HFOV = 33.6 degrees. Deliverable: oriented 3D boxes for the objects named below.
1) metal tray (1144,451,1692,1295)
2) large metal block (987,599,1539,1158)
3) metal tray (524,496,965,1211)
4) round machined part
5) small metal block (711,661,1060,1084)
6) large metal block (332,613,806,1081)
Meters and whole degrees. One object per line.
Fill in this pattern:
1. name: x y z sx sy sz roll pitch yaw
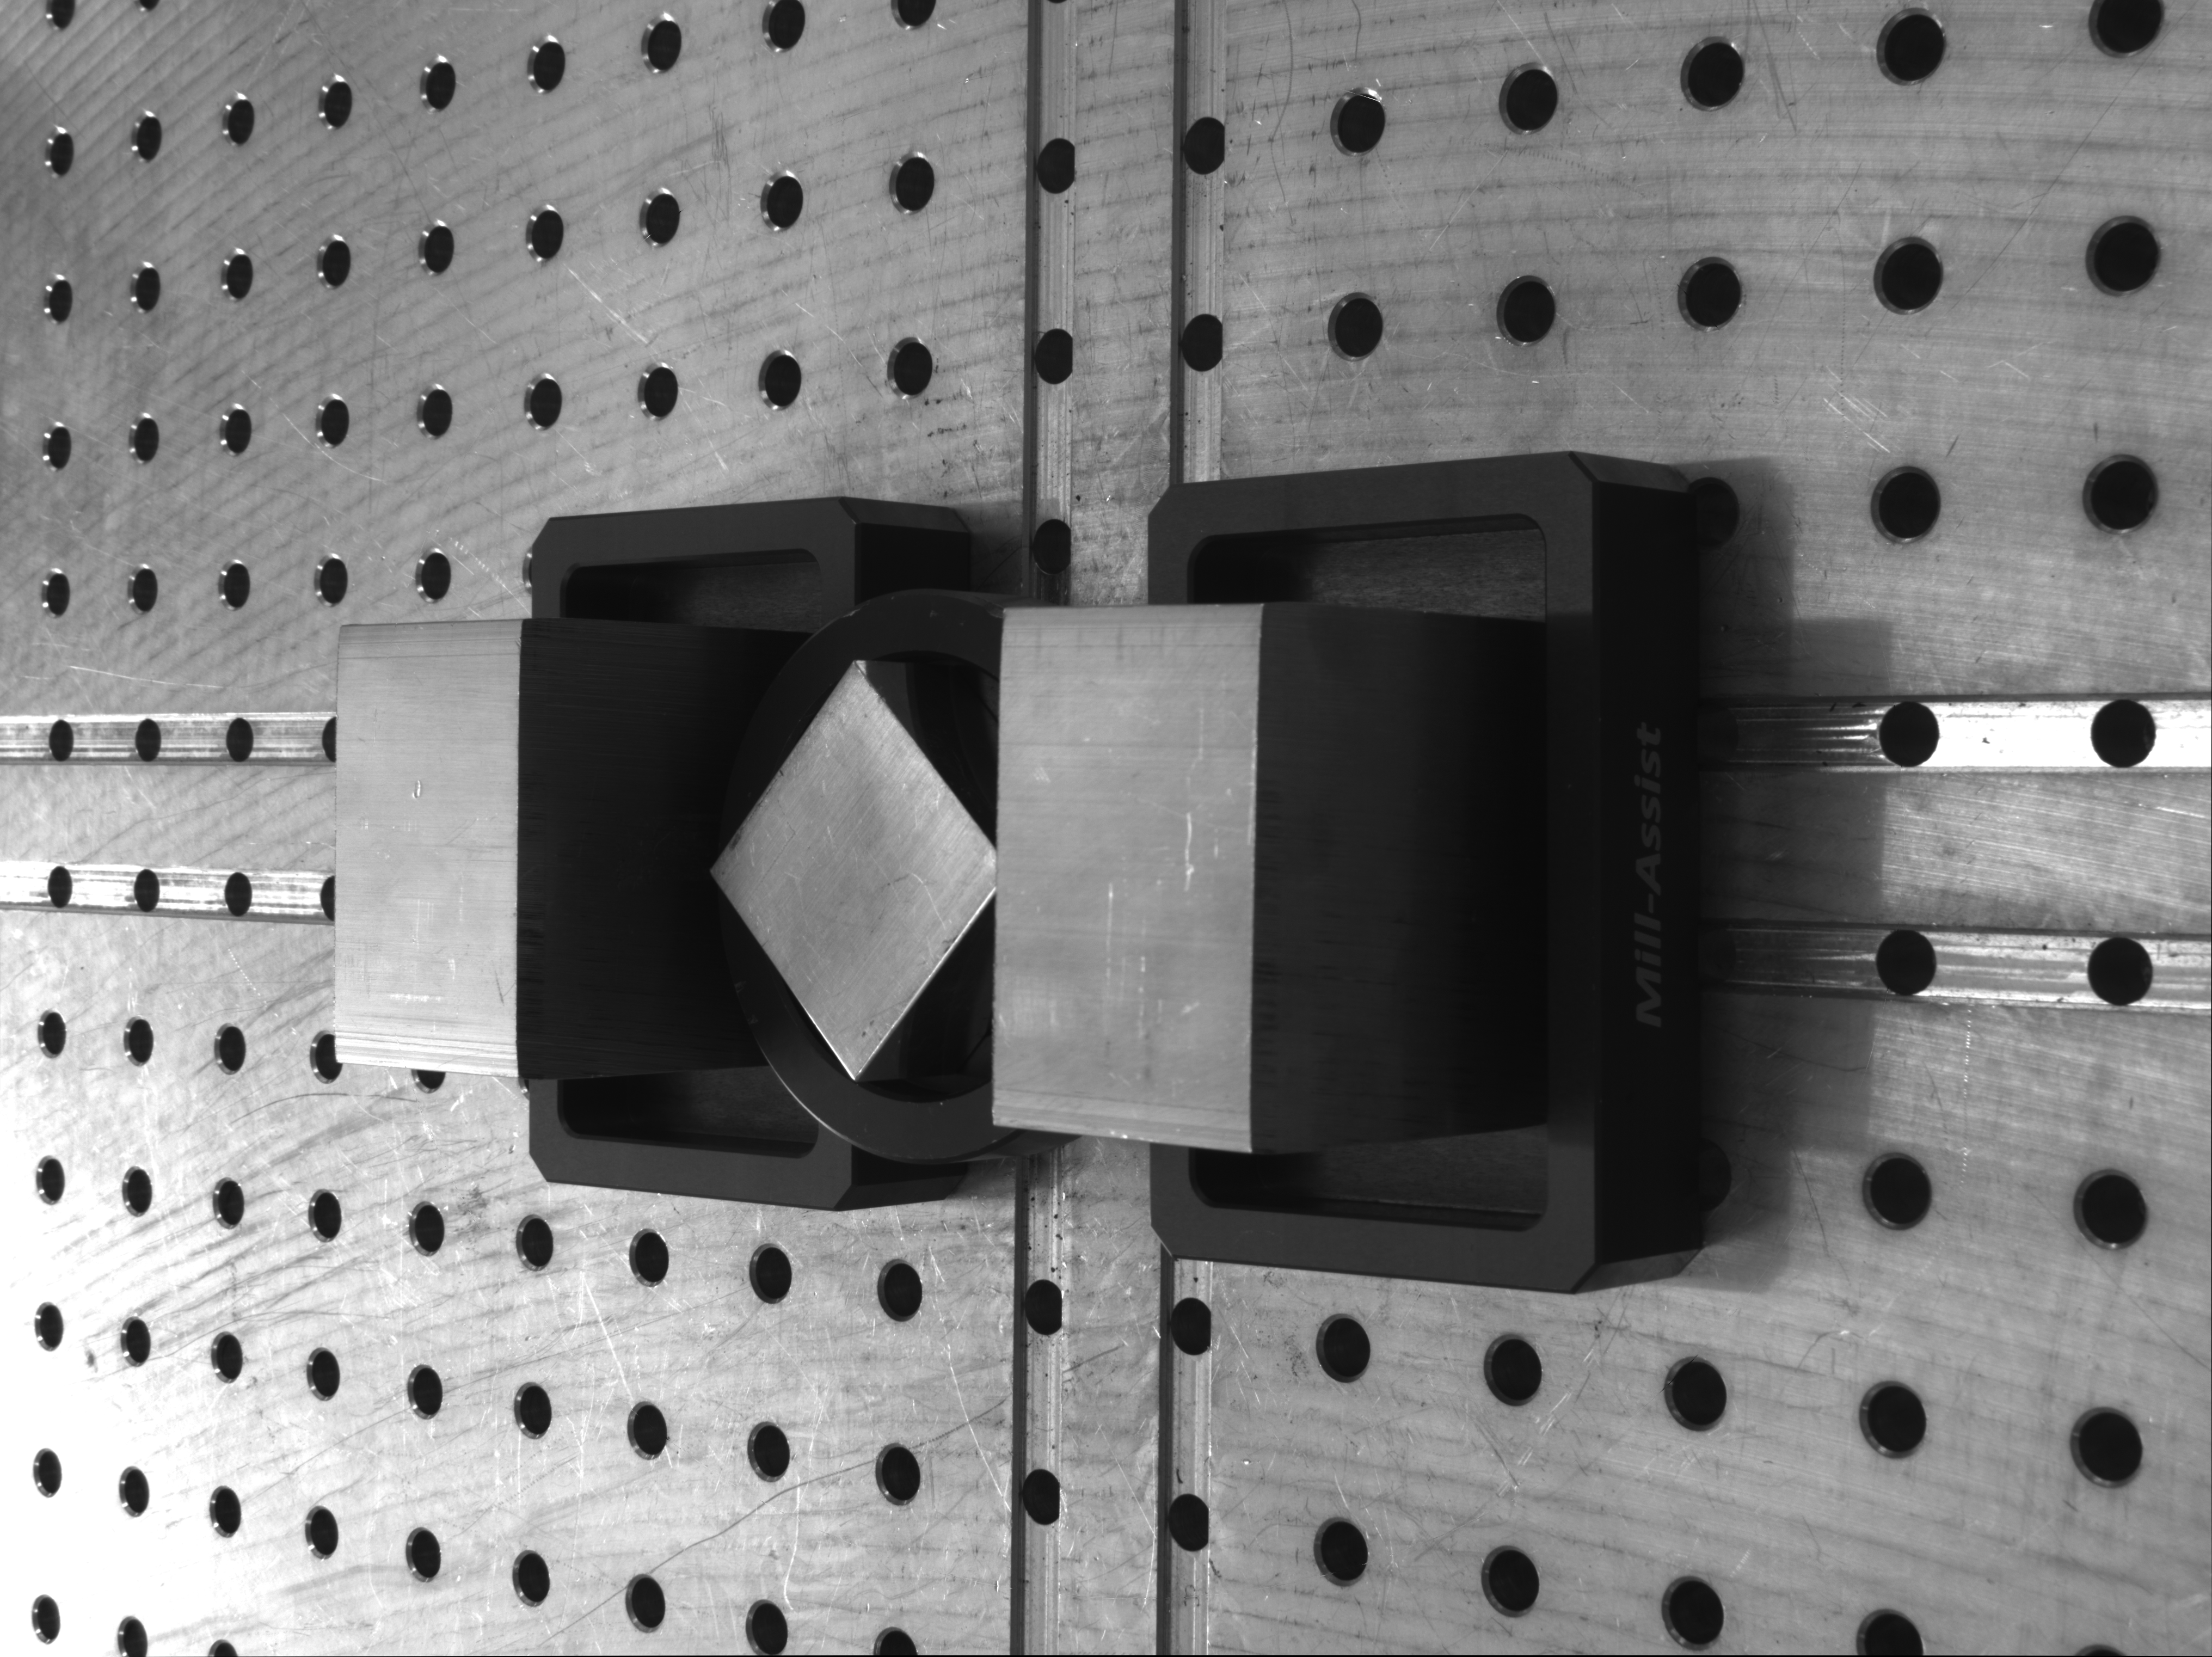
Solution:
1. metal tray: 0.050 0.007 0.602 0.090 0.030 0.130 0 89 40
2. large metal block: 0.028 0.007 0.571 0.050 0.080 0.080 2 91 40
3. metal tray: -0.070 0.004 0.703 0.090 0.030 0.130 1 90 40
4. round machined part: -0.019 0.008 0.641 0.098 0.042 0.098 0 90 40
5. small metal block: -0.034 0.007 0.623 0.050 0.025 0.050 52 121 27
6. large metal block: -0.094 0.003 0.674 0.050 0.080 0.080 1 90 40
